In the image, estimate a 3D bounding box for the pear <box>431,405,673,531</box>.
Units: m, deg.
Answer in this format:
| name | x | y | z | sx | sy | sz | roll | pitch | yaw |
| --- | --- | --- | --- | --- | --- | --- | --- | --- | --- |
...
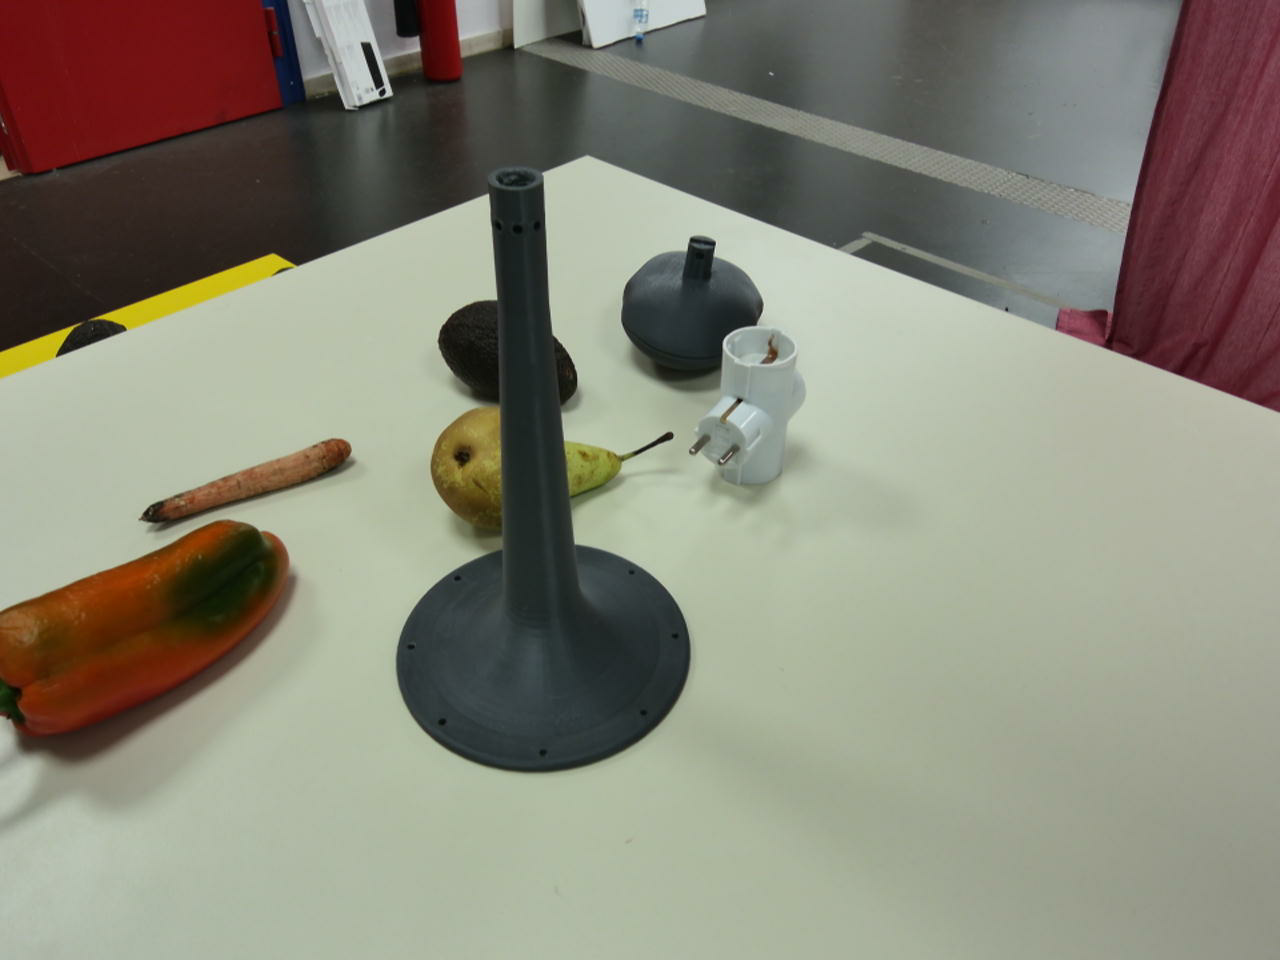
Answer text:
| name | x | y | z | sx | sy | sz | roll | pitch | yaw |
| --- | --- | --- | --- | --- | --- | --- | --- | --- | --- |
| pear | -0.056 | -0.020 | 0.590 | 0.144 | 0.075 | 0.071 | -29 | 46 | -32 |
